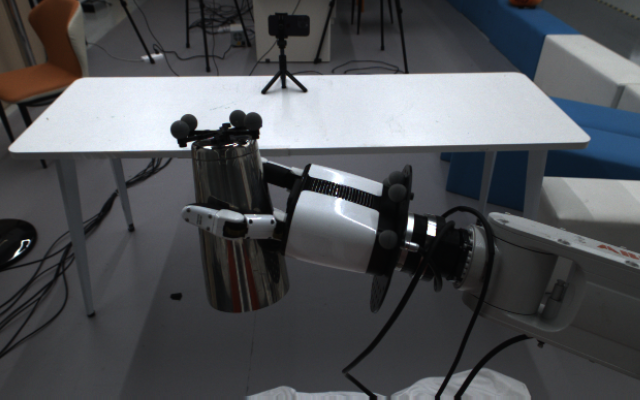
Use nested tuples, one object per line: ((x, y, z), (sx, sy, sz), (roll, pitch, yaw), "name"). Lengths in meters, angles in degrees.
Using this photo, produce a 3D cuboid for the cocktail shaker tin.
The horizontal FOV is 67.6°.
((-0.087, 0.022, 0.510), (0.093, 0.170, 0.093), (-6, 19, 2), "cocktail shaker tin")
